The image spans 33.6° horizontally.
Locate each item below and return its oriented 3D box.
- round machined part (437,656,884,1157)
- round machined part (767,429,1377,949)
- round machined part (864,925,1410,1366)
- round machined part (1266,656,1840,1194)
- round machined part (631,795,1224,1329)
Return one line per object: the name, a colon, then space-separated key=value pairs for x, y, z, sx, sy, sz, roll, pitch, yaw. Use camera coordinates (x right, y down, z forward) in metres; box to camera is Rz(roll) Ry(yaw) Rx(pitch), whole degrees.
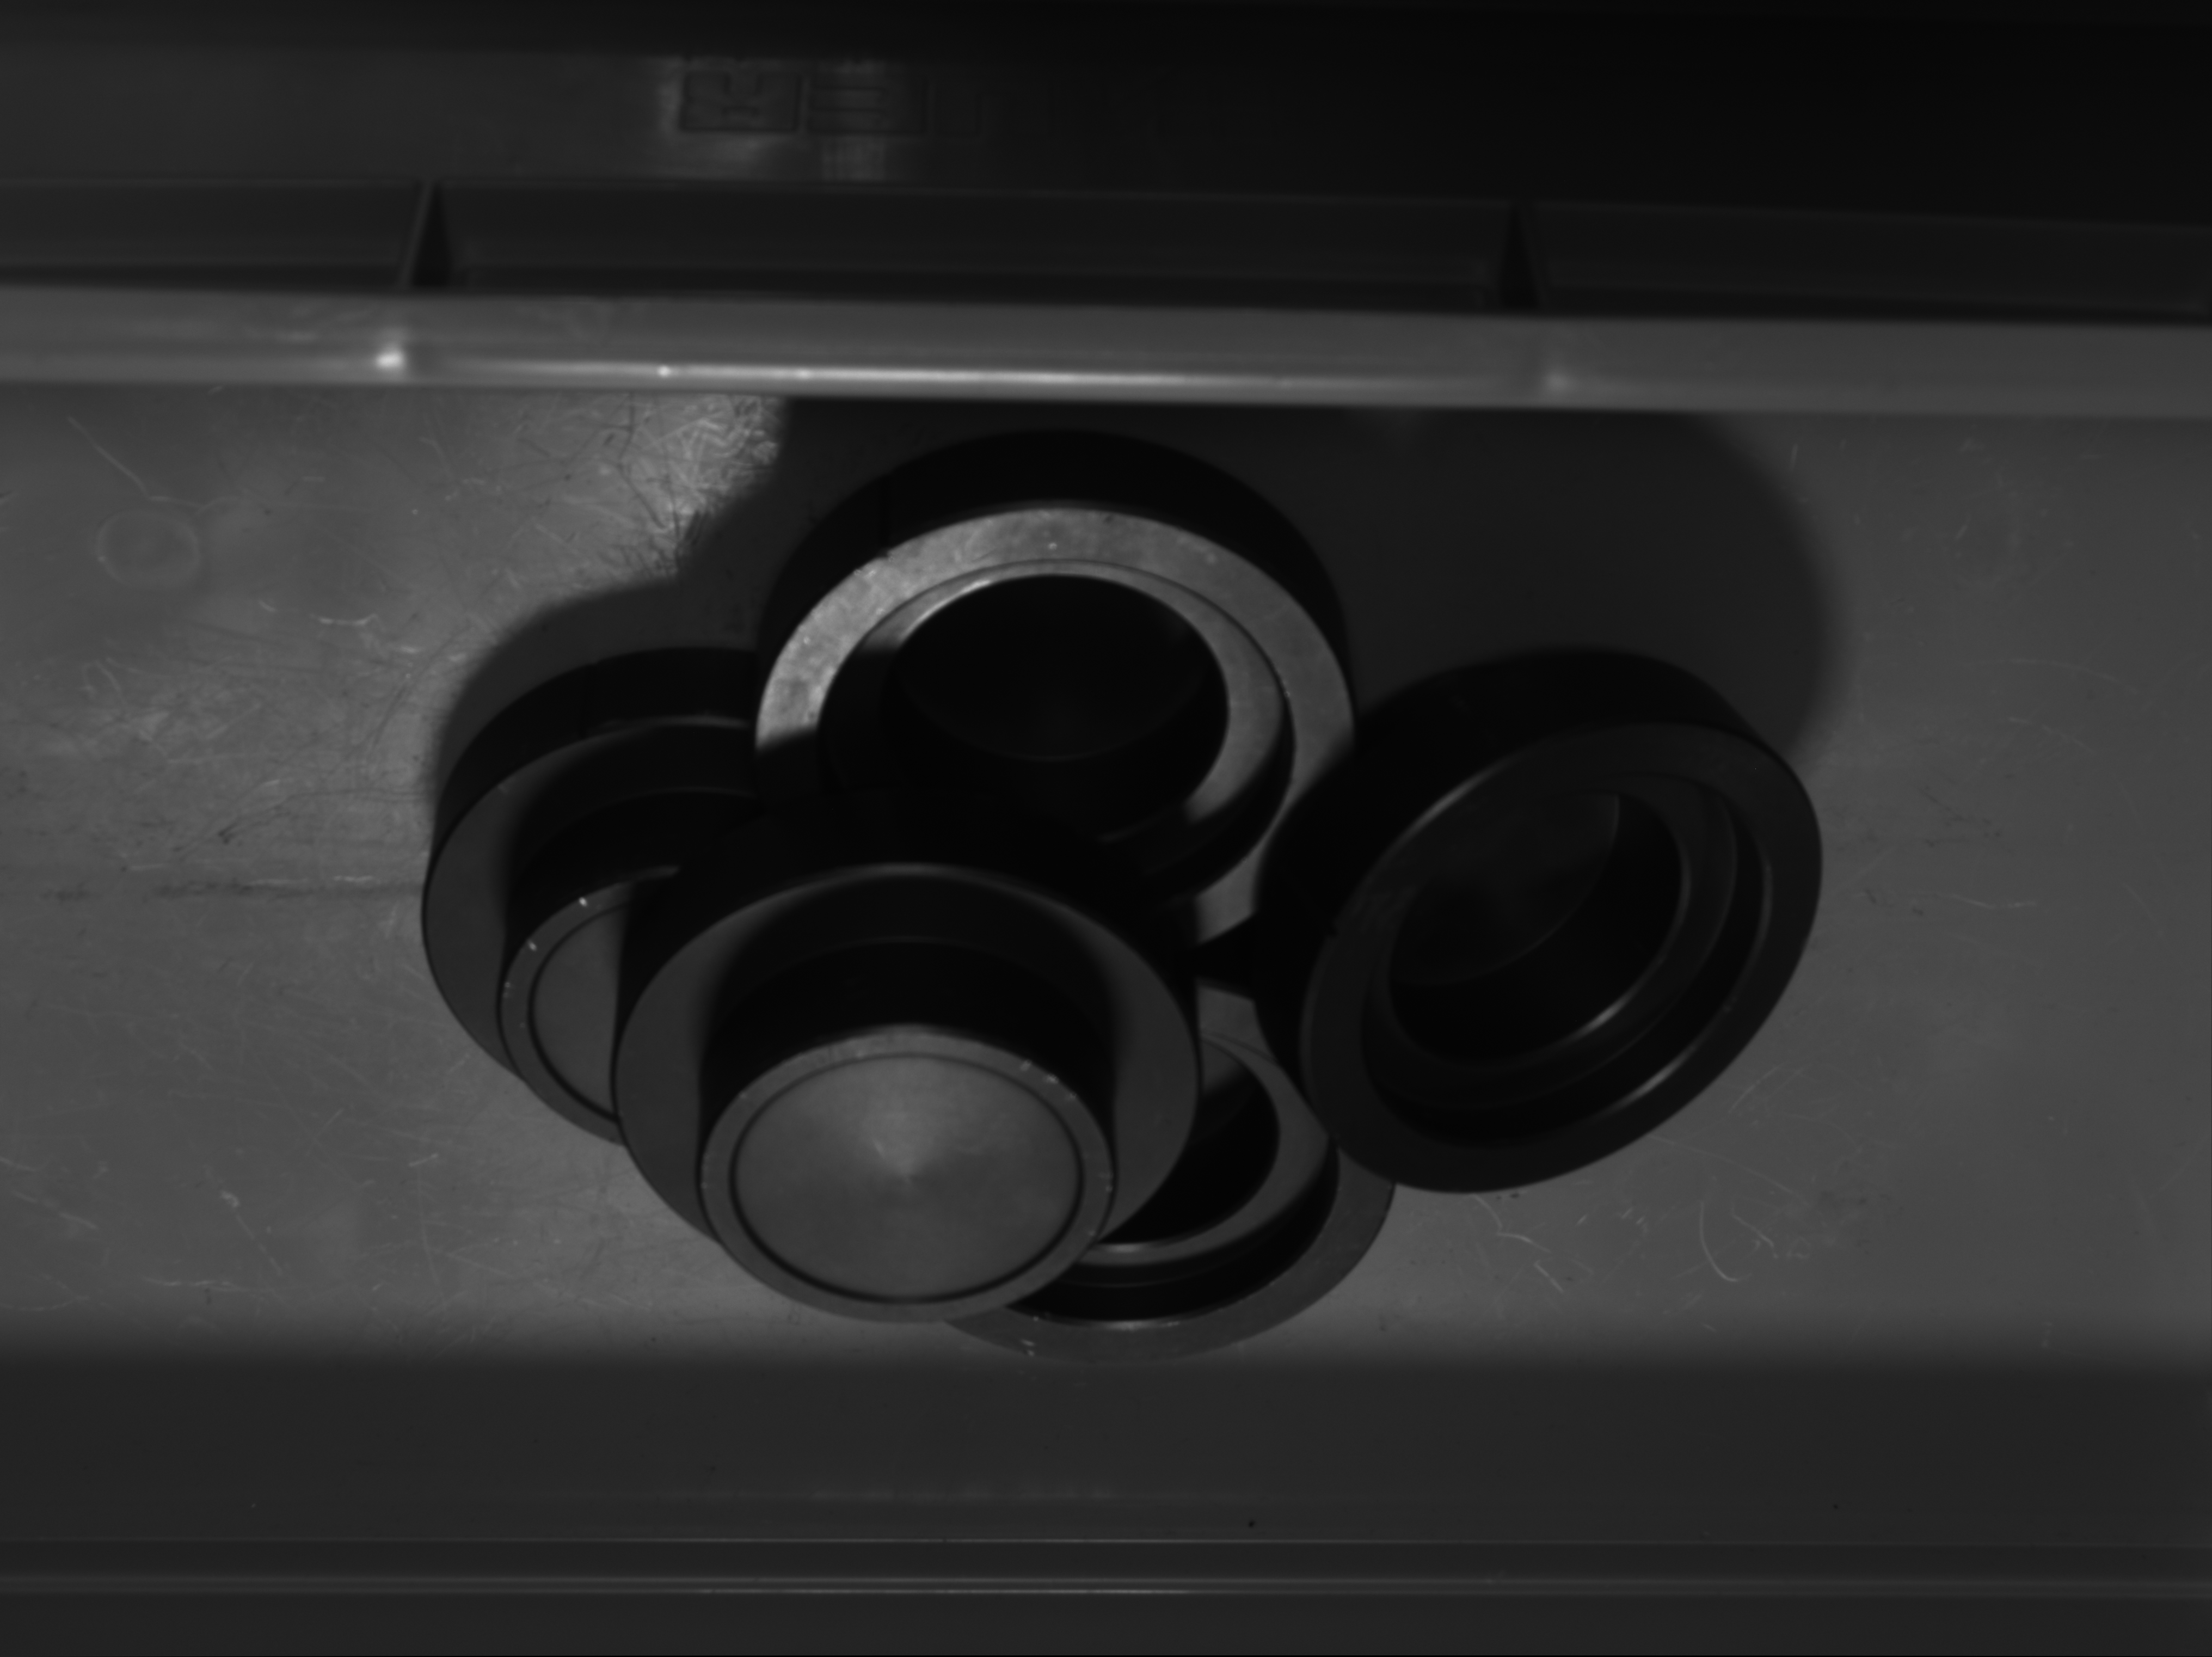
round machined part: x=-0.067 y=0.021 z=0.639 sx=0.098 sy=0.042 sz=0.098 roll=-1 pitch=130 yaw=-1
round machined part: x=-0.006 y=-0.025 z=0.604 sx=0.098 sy=0.042 sz=0.098 roll=-1 pitch=130 yaw=-1
round machined part: x=0.005 y=0.050 z=0.667 sx=0.098 sy=0.042 sz=0.098 roll=-1 pitch=130 yaw=-1
round machined part: x=0.072 y=0.012 z=0.624 sx=0.098 sy=0.042 sz=0.098 roll=-14 pitch=130 yaw=-17
round machined part: x=-0.029 y=0.045 z=0.606 sx=0.098 sy=0.042 sz=0.098 roll=-1 pitch=130 yaw=-1
